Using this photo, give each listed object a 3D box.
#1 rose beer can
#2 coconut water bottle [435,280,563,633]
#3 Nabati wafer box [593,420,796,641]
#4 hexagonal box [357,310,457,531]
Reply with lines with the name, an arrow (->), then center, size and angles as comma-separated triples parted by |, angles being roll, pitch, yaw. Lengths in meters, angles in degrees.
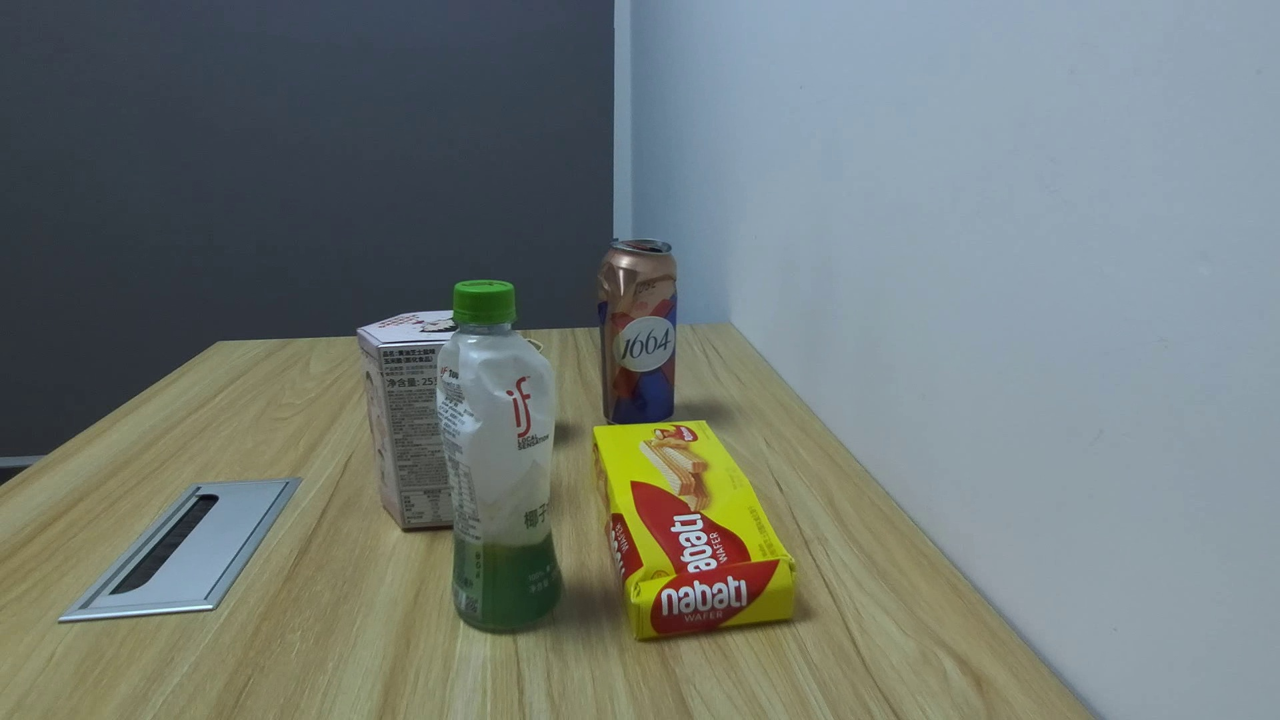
rose beer can -> 0.001, -0.021, 0.633 | 0.076, 0.167, 0.065 | -8, 23, -30
coconut water bottle -> -0.077, 0.052, 0.387 | 0.067, 0.187, 0.067 | -1, 17, 0
Nabati wafer box -> 0.026, 0.099, 0.474 | 0.096, 0.042, 0.203 | -2, 19, -9
hexagonal box -> -0.145, 0.041, 0.500 | 0.083, 0.136, 0.091 | 8, 20, 23
